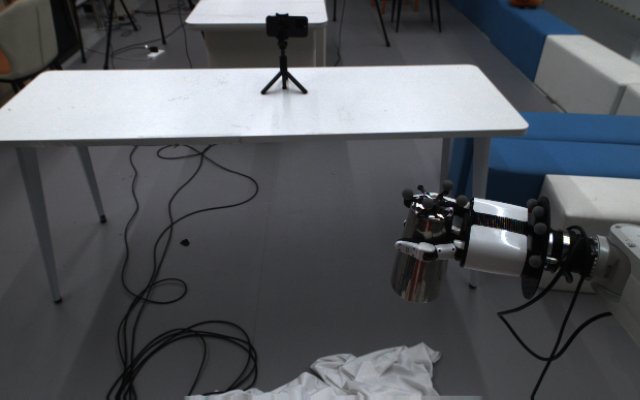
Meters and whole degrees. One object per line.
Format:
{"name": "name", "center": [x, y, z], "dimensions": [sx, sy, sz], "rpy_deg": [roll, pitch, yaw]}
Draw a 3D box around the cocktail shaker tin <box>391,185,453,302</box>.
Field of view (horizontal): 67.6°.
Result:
{"name": "cocktail shaker tin", "center": [0.174, 0.073, 0.794], "dimensions": [0.093, 0.170, 0.093], "rpy_deg": [1, 39, 0]}
